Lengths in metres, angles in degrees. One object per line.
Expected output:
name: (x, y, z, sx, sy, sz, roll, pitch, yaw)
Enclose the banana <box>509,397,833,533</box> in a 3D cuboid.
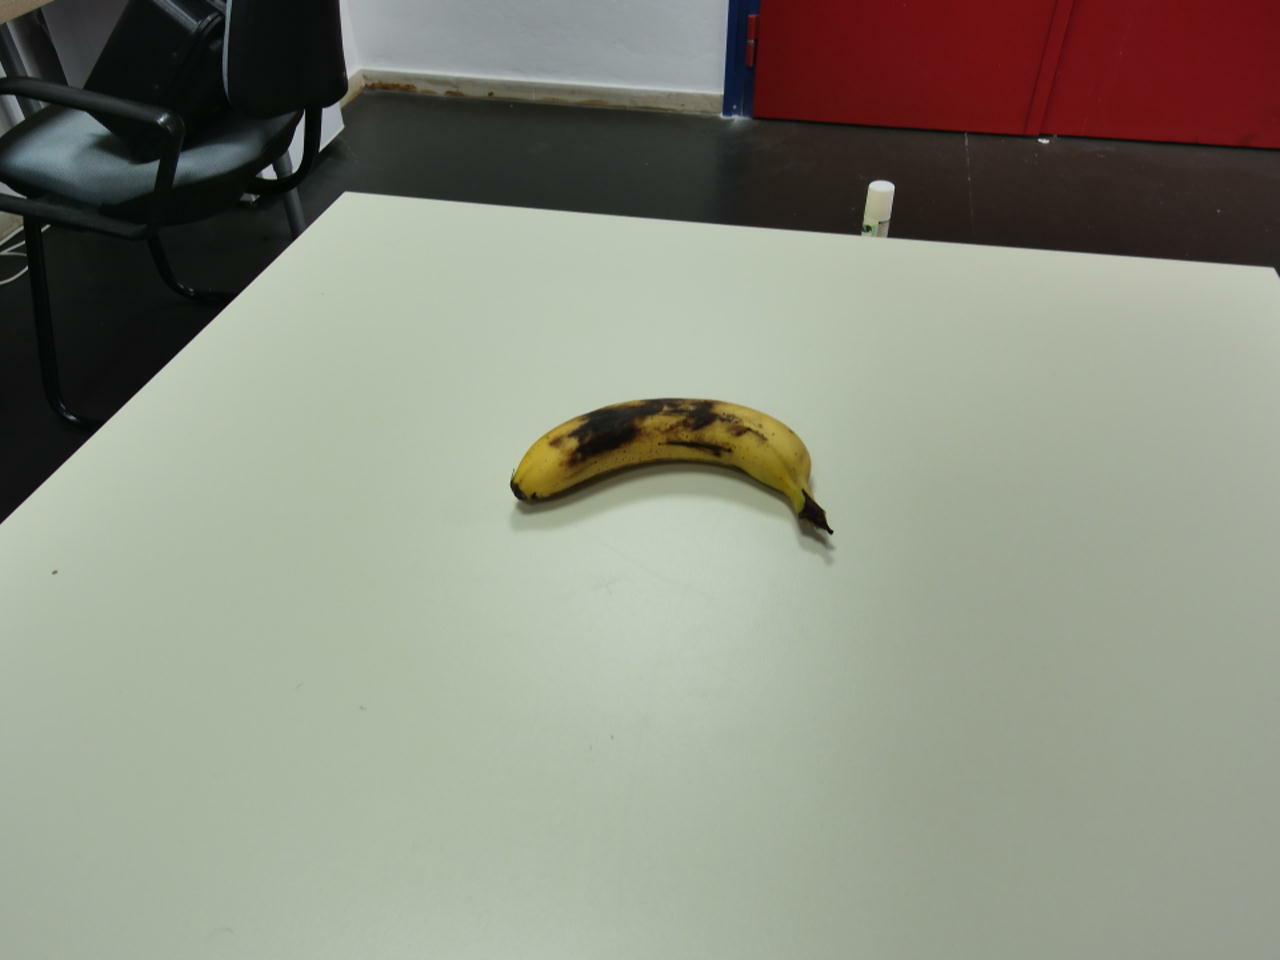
banana: (0.022, -0.015, 0.601, 0.187, 0.039, 0.094, 7, 40, 8)
